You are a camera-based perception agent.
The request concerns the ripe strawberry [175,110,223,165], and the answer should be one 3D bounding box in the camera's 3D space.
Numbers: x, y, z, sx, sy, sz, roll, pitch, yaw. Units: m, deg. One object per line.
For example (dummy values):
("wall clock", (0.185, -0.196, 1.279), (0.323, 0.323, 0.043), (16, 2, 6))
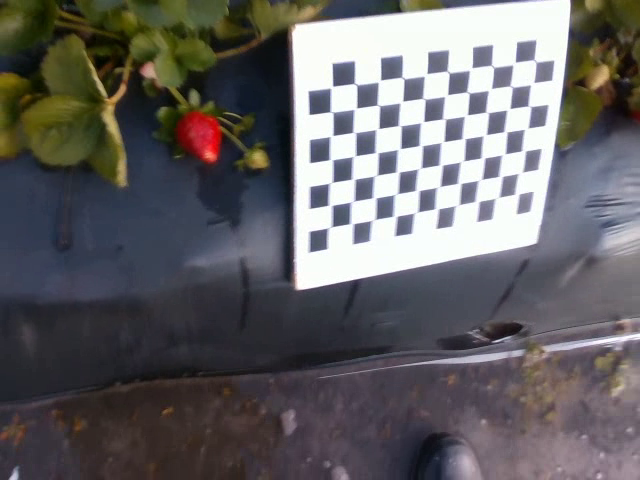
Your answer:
("ripe strawberry", (-0.106, -0.089, 0.698), (0.043, 0.057, 0.052), (-29, -28, 0))
